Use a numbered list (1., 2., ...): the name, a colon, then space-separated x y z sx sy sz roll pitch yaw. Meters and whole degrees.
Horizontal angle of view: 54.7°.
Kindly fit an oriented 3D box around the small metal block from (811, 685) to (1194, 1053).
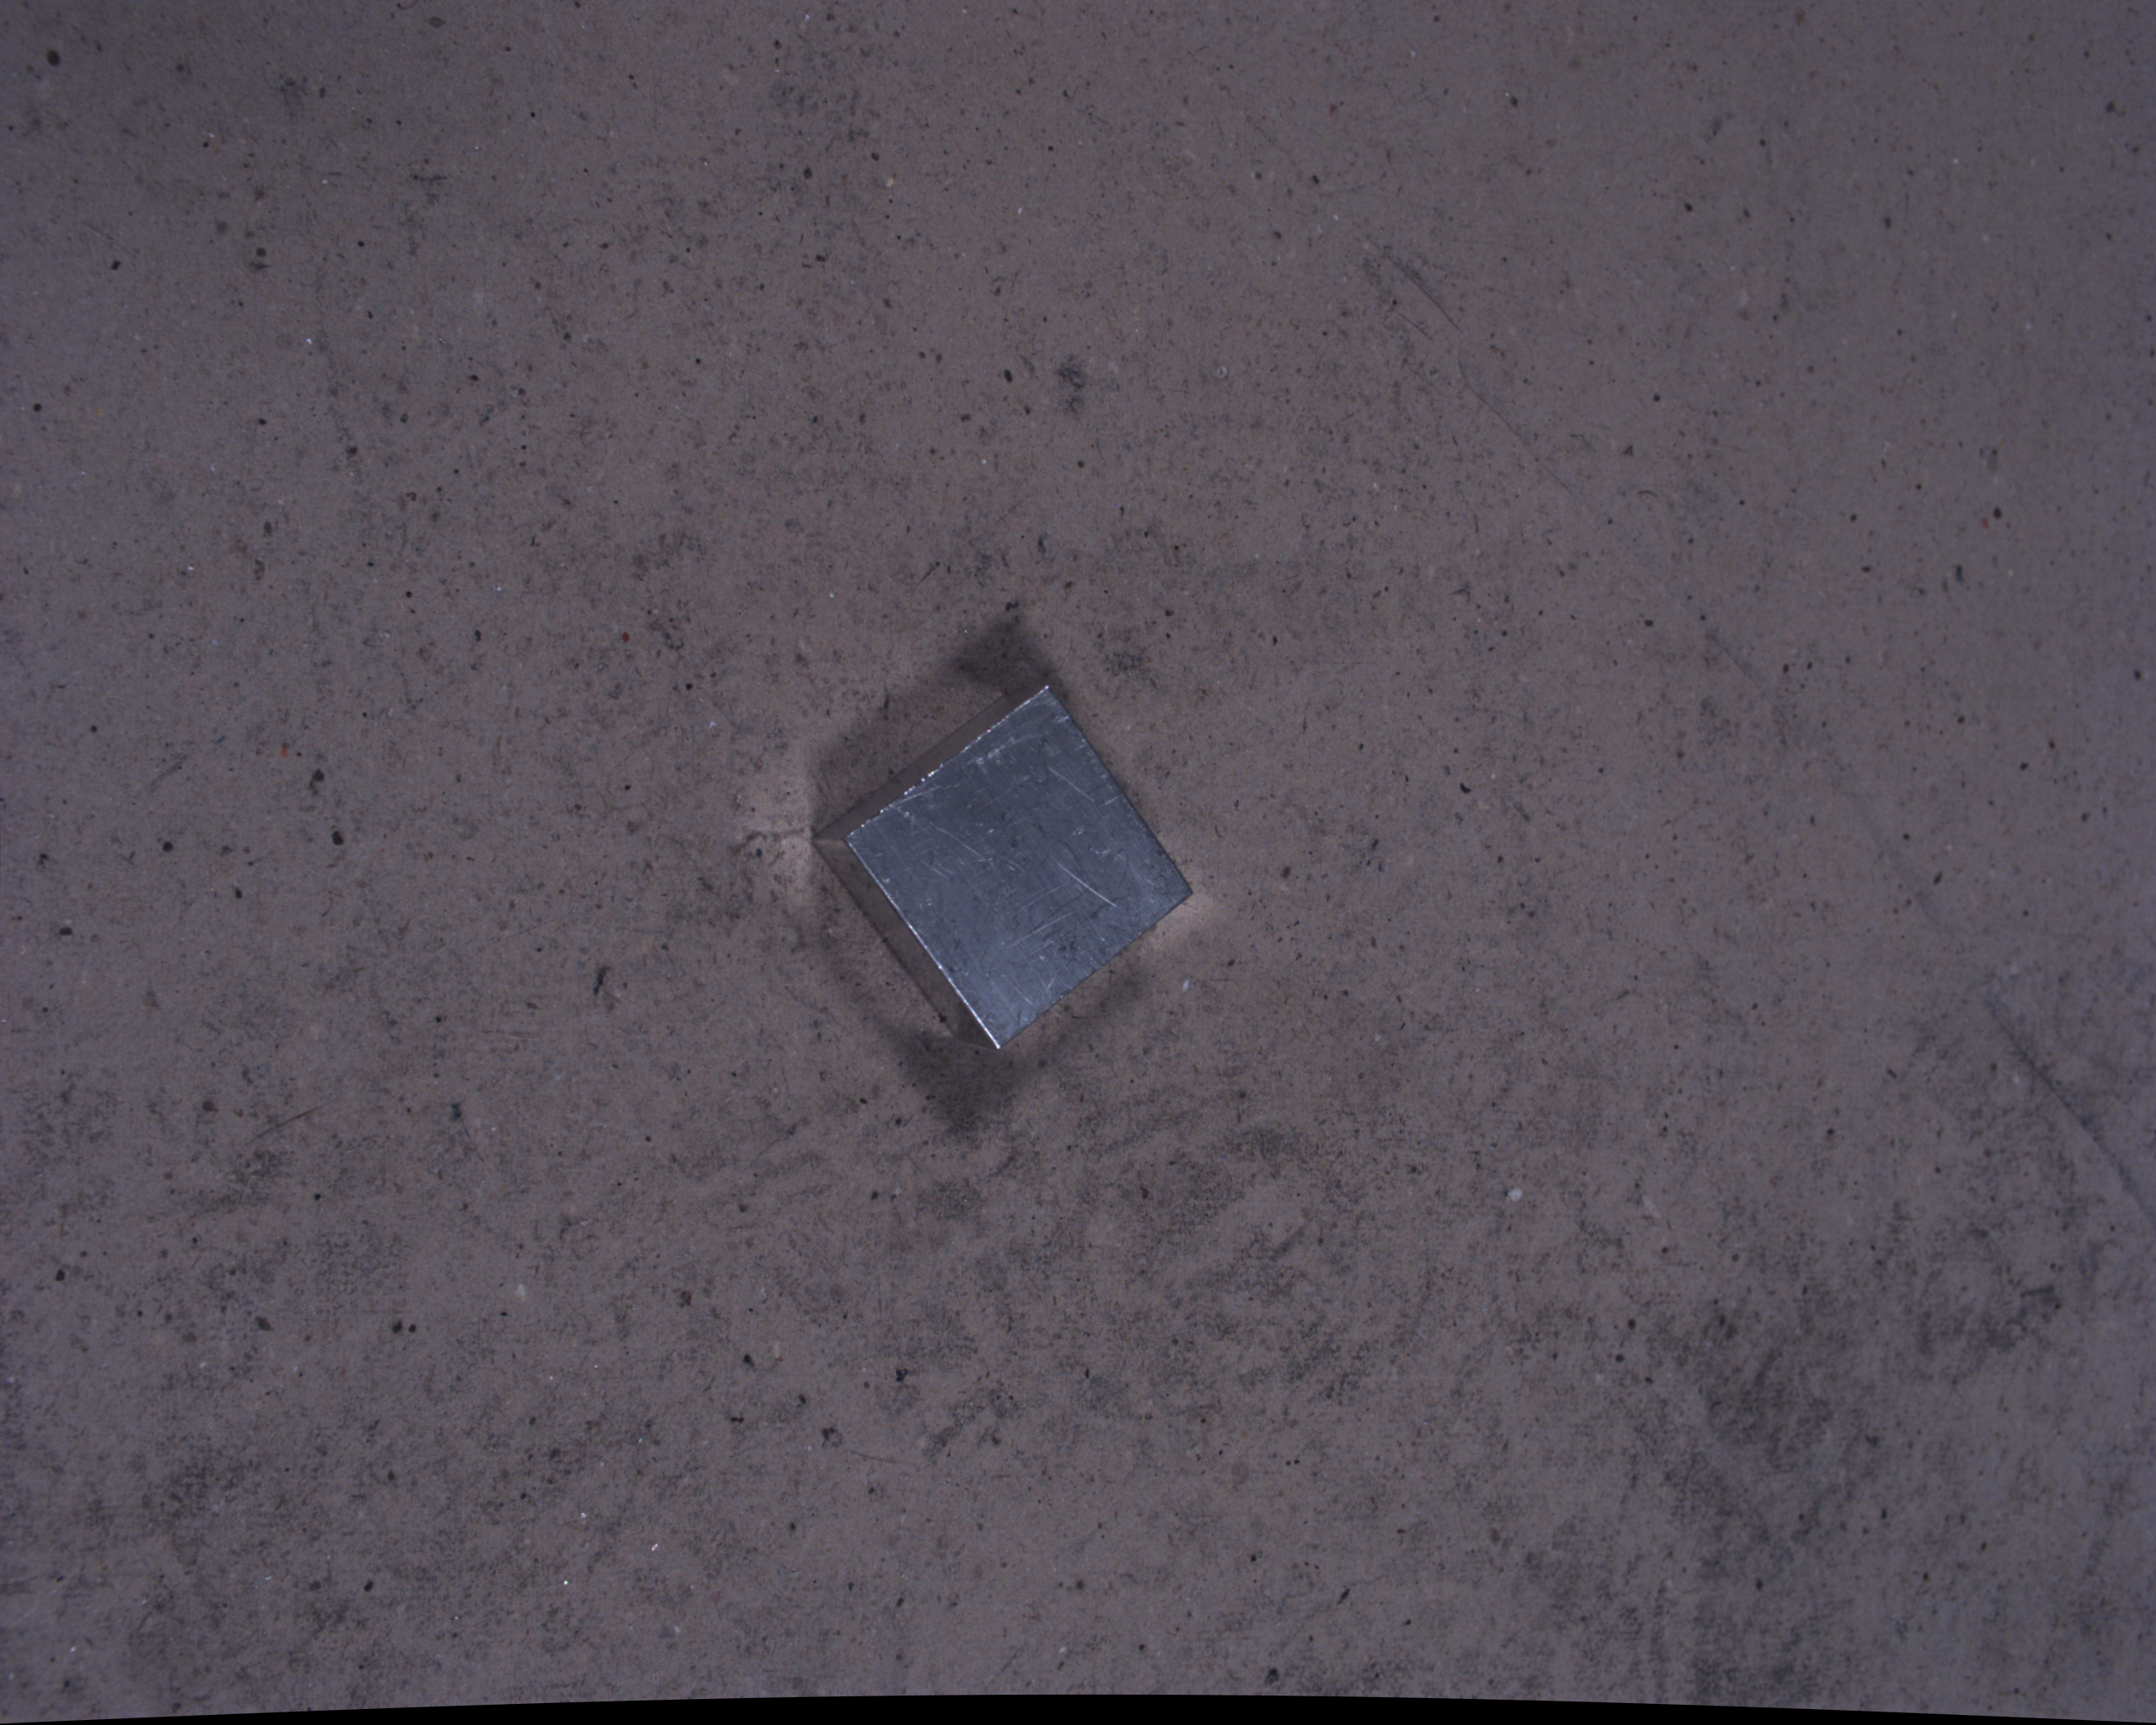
1. small metal block: -0.015 0.001 0.406 0.050 0.025 0.050 -39 103 -16
